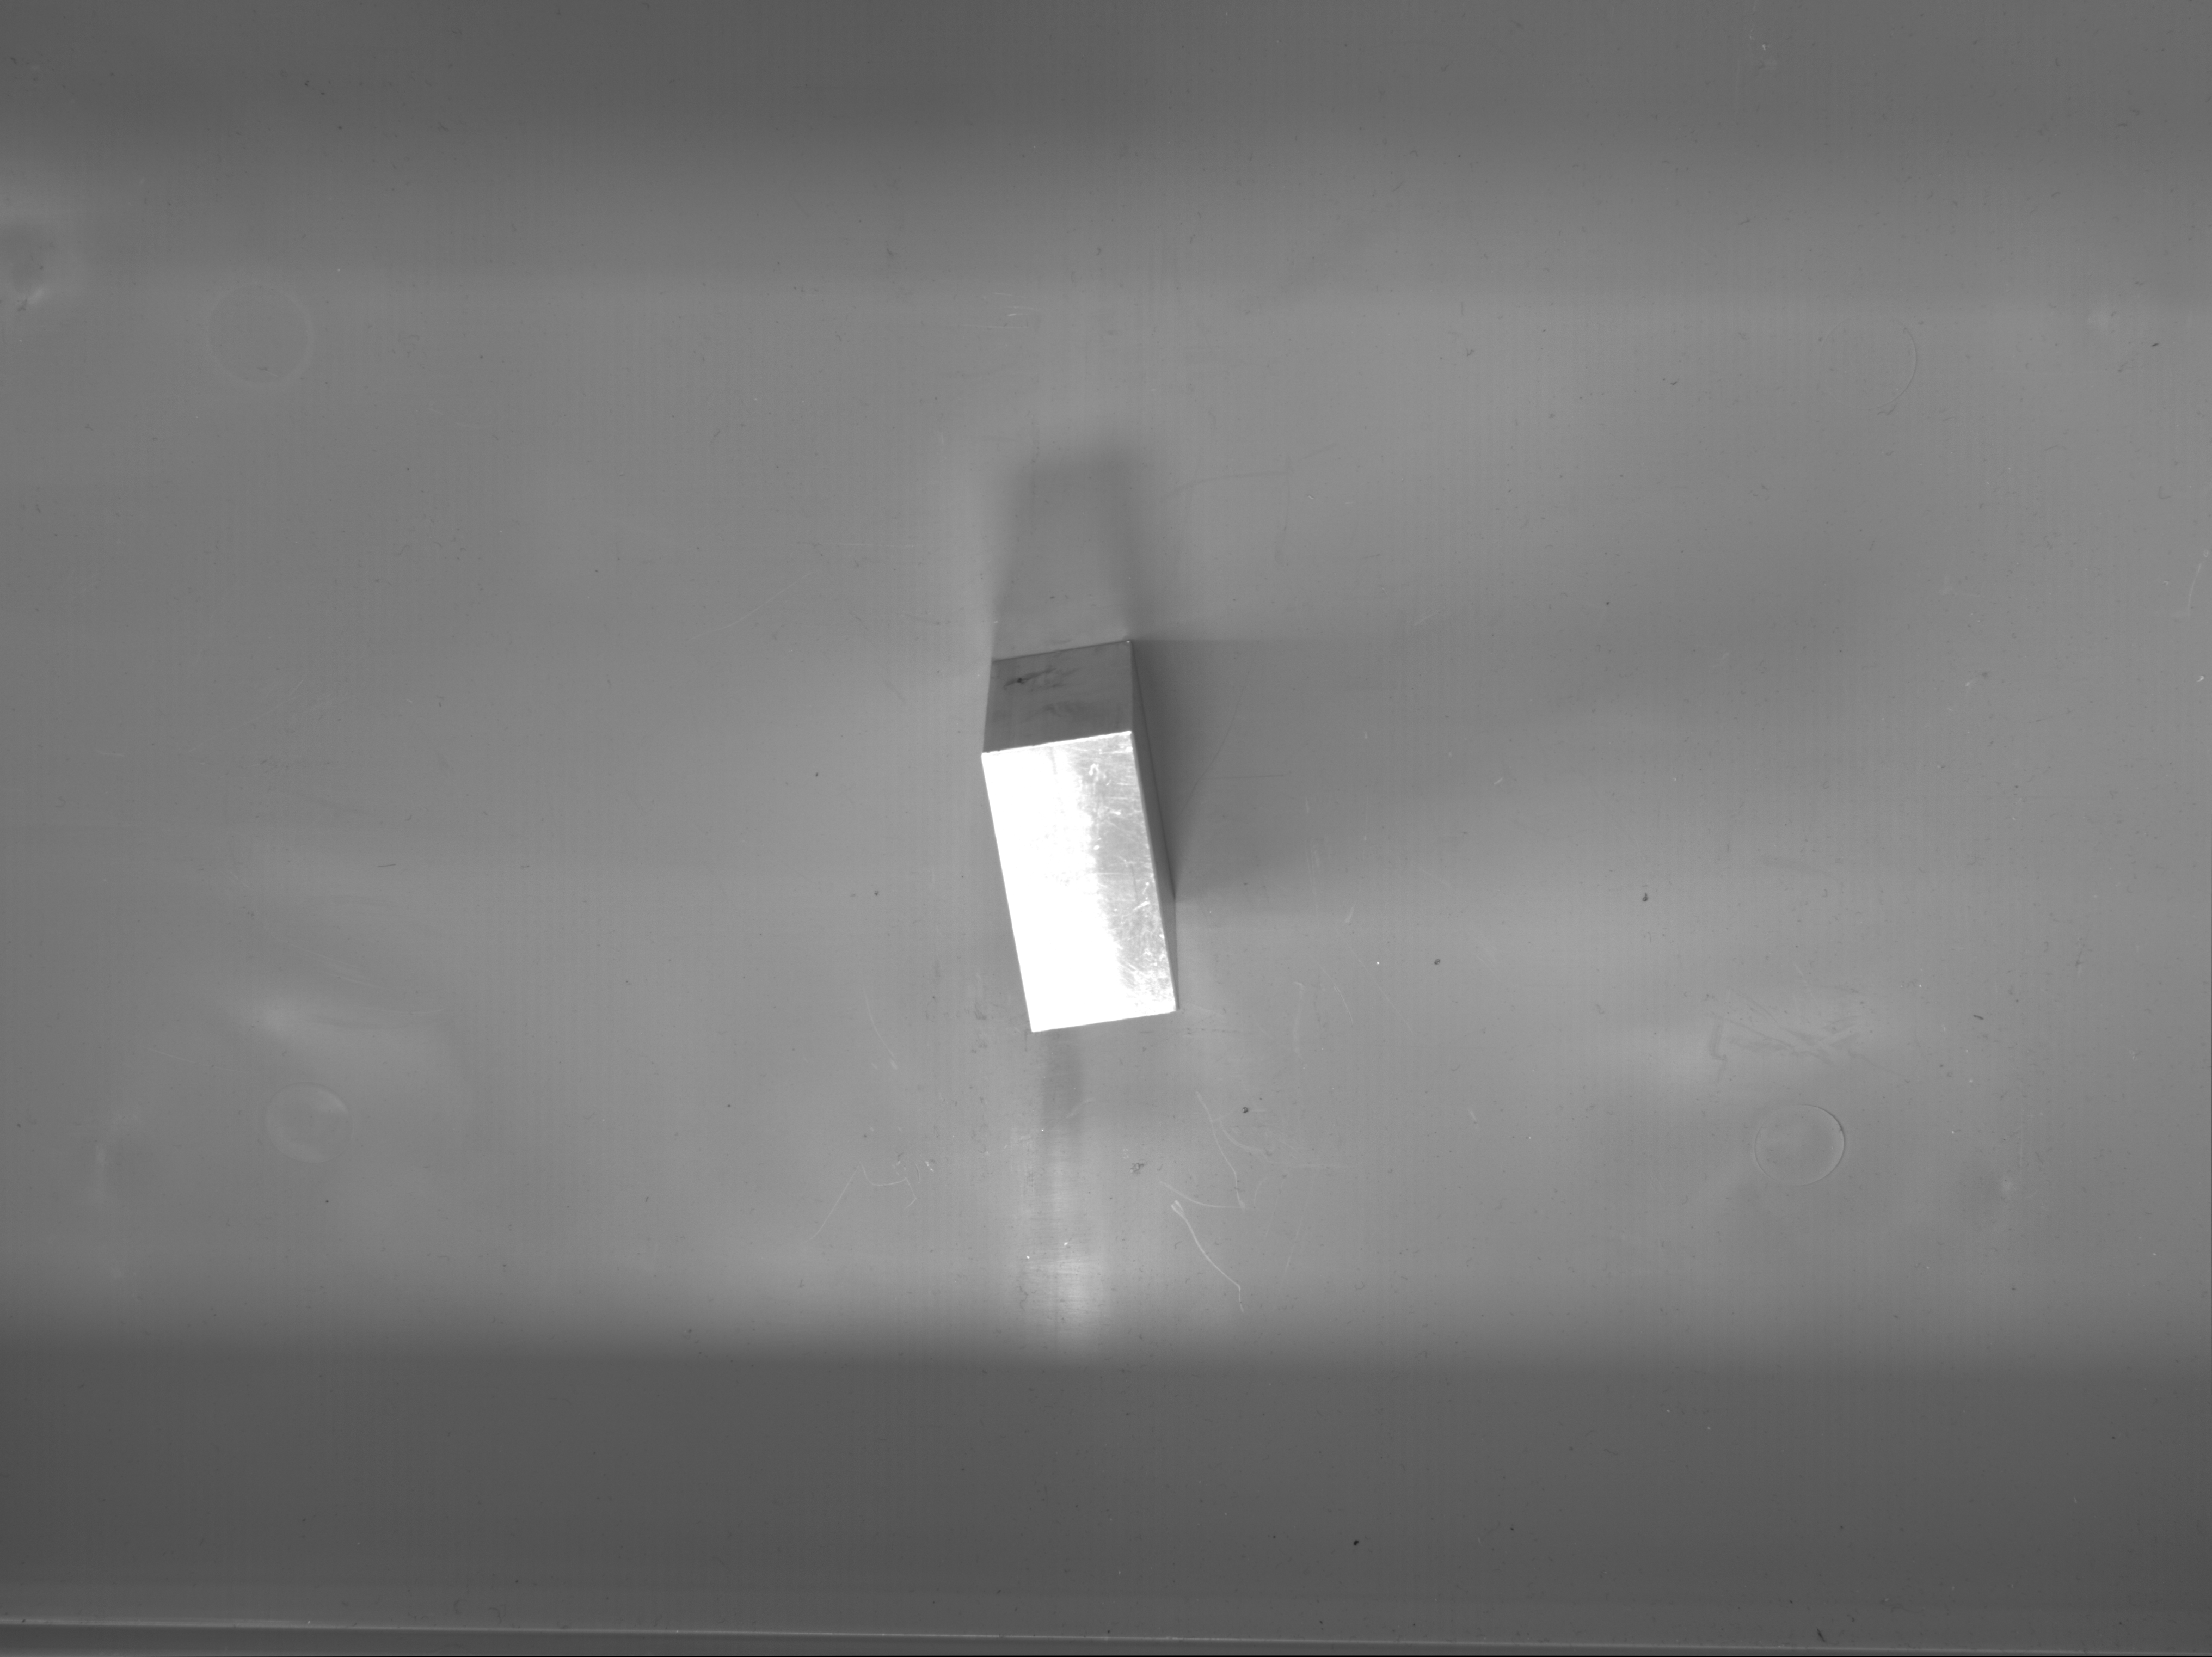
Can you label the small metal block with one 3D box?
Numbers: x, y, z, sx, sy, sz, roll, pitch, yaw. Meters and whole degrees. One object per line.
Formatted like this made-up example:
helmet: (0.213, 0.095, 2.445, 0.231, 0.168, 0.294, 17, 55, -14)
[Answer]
small metal block: (-0.004, 0.001, 0.628, 0.025, 0.050, 0.050, -8, 109, 3)
